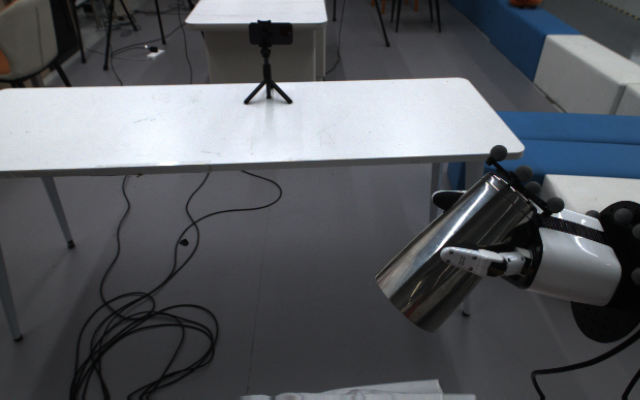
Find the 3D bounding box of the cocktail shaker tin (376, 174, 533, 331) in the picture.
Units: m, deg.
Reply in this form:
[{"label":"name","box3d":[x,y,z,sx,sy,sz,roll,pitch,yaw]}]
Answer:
[{"label":"cocktail shaker tin","box3d":[0.153,0.049,0.537,0.093,0.170,0.093,41,12,-11]}]
